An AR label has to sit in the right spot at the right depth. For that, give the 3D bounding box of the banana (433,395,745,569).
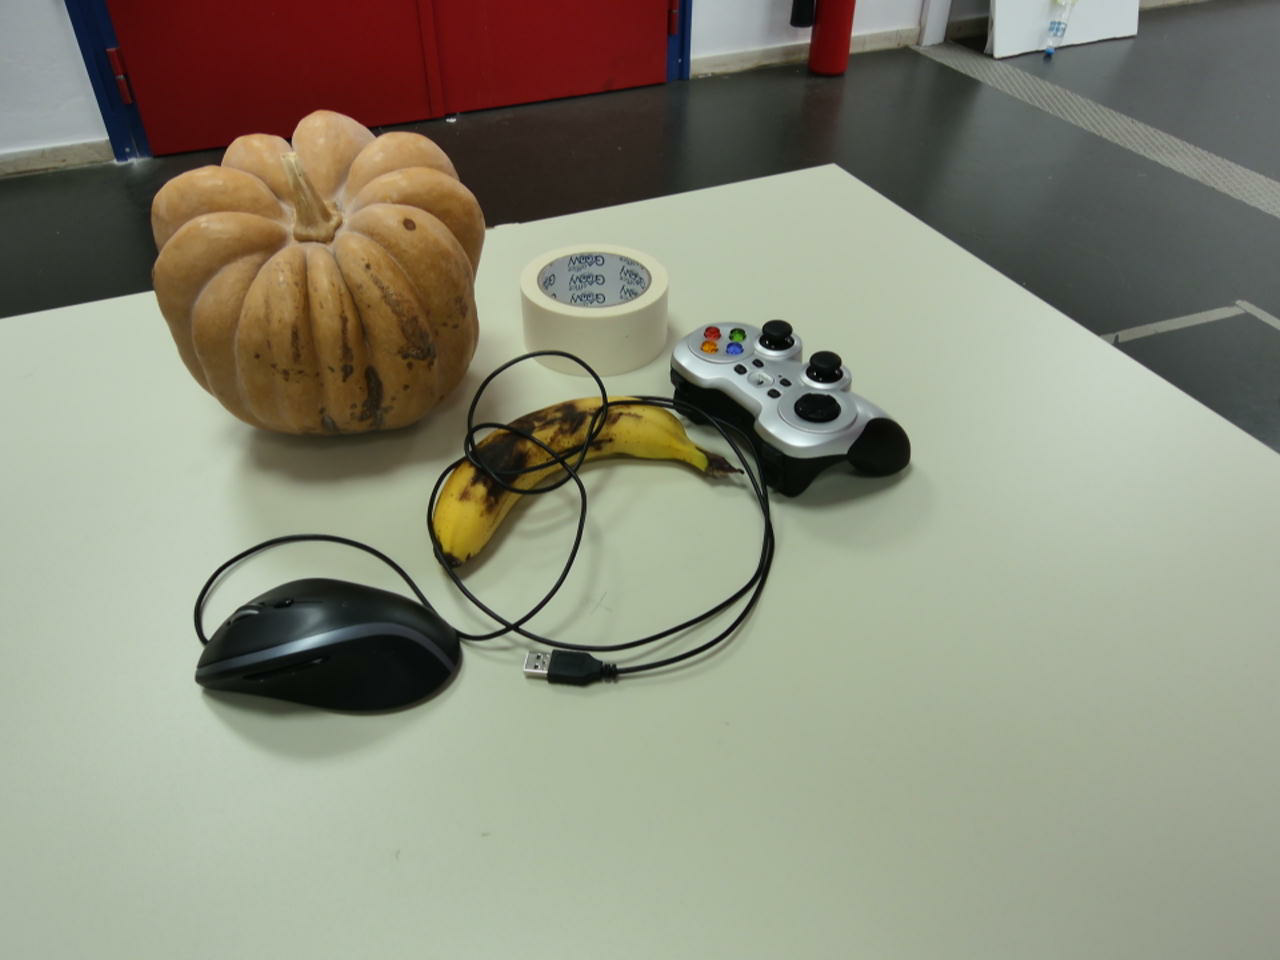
[{"bbox_3d":[-0.044,-0.010,0.597,0.187,0.039,0.094,-17,42,-21],"label":"banana"}]
